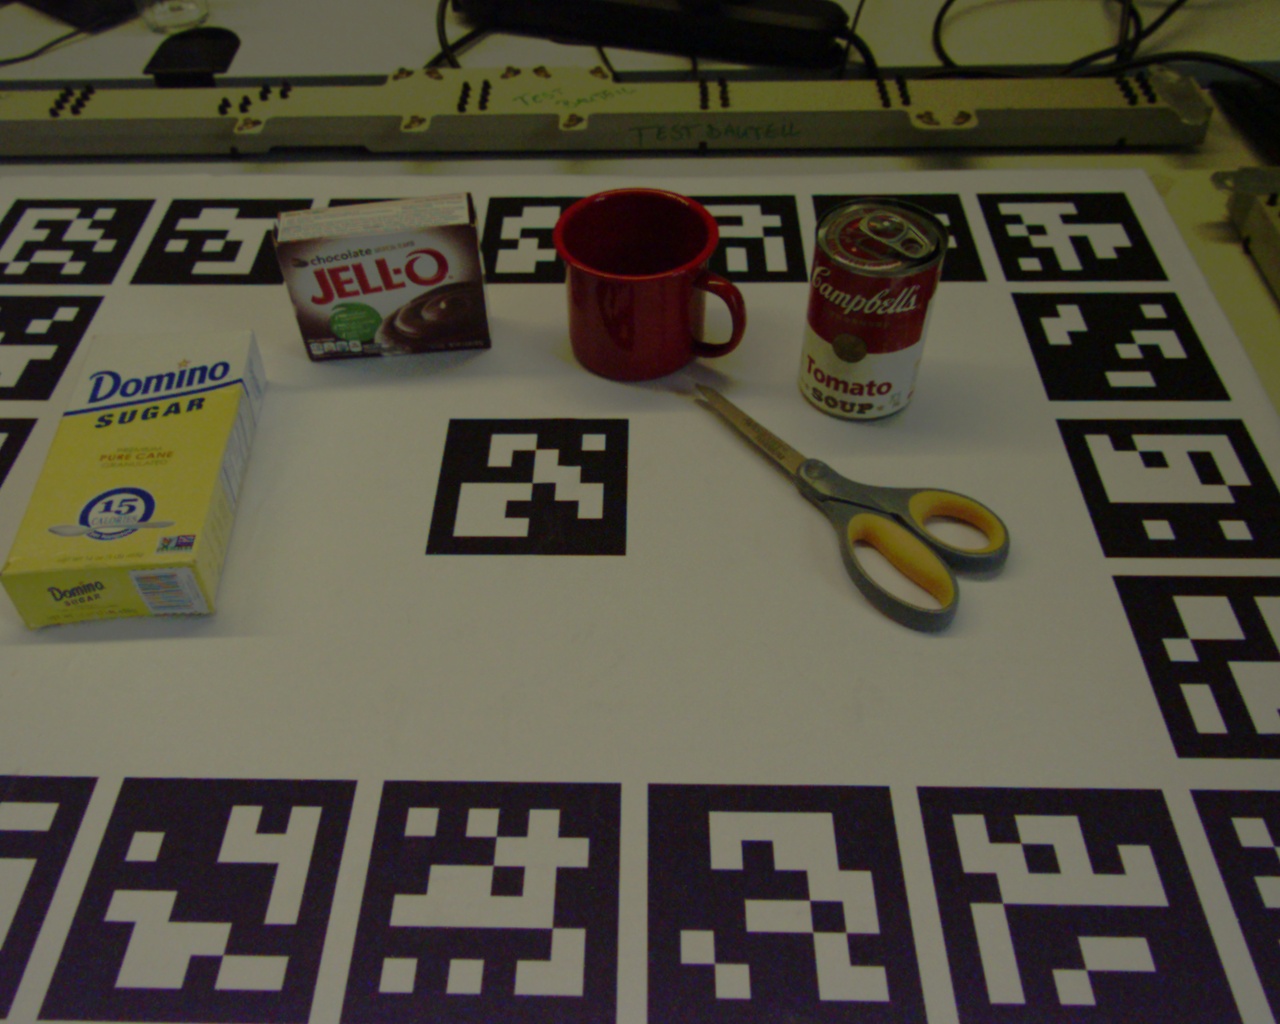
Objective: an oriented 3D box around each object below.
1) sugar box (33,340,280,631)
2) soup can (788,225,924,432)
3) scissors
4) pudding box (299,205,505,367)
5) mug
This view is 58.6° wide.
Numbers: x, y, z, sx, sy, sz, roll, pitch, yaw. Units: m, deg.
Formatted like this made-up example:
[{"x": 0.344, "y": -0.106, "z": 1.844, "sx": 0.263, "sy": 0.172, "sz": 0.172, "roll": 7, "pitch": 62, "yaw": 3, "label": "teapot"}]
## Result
[{"x": -0.262, "y": -0.020, "z": 0.636, "sx": 0.093, "sy": 0.045, "sz": 0.177, "roll": -4, "pitch": 51, "yaw": 1, "label": "sugar box"}, {"x": 0.123, "y": -0.105, "z": 0.662, "sx": 0.068, "sy": 0.101, "sz": 0.068, "roll": -1, "pitch": 48, "yaw": 1, "label": "soup can"}, {"x": 0.100, "y": -0.010, "z": 0.627, "sx": 0.087, "sy": 0.016, "sz": 0.205, "roll": -40, "pitch": 60, "yaw": -16, "label": "scissors"}, {"x": -0.142, "y": -0.137, "z": 0.692, "sx": 0.113, "sy": 0.090, "sz": 0.039, "roll": -7, "pitch": 57, "yaw": -5, "label": "pudding box"}, {"x": 0.007, "y": -0.133, "z": 0.694, "sx": 0.092, "sy": 0.081, "sz": 0.118, "roll": -31, "pitch": 54, "yaw": -19, "label": "mug"}]
